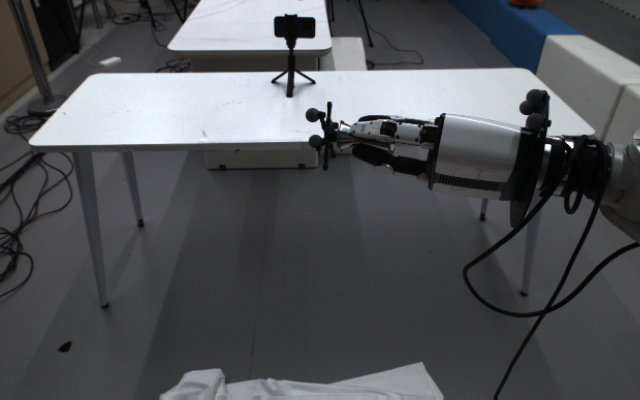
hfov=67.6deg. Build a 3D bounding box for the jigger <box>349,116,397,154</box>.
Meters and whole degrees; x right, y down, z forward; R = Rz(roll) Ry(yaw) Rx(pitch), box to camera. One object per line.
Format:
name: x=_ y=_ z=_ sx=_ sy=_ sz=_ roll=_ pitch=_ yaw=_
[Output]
jigger: x=0.066 y=-0.084 z=0.614 sx=0.071 sy=0.043 sz=0.043 roll=2 pitch=34 yaw=16
